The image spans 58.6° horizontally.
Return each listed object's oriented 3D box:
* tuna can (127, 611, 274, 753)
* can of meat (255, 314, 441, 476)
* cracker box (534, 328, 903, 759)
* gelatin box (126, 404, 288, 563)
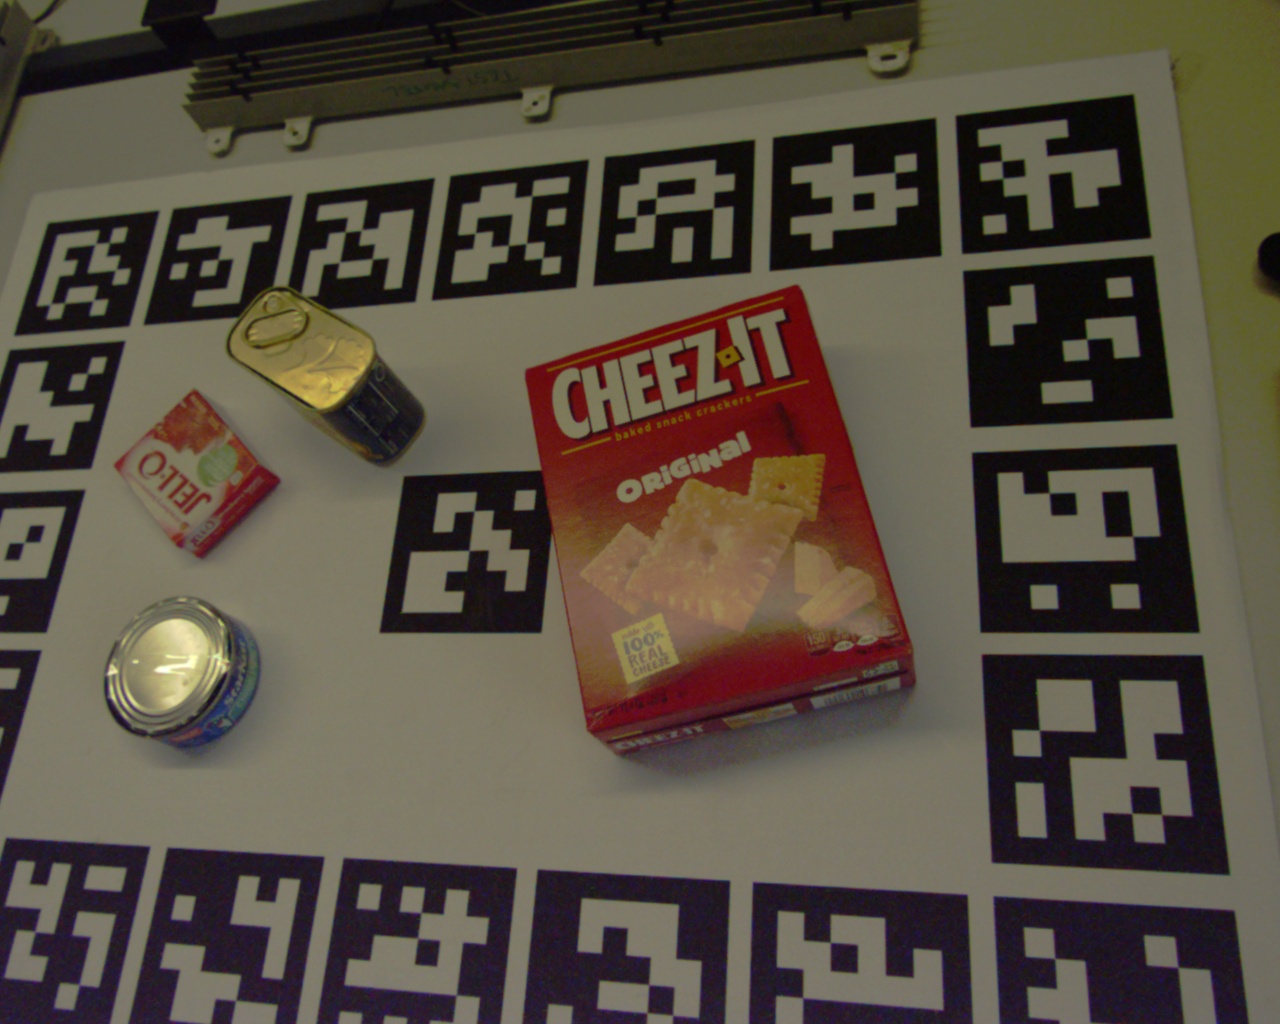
[{"bbox_3d":[-0.276,0.108,0.719,0.086,0.033,0.086,-6,69,14],"label":"tuna can"},{"bbox_3d":[-0.191,-0.075,0.760,0.103,0.083,0.057,28,76,25],"label":"can of meat"},{"bbox_3d":[0.039,0.015,0.660,0.165,0.071,0.215,-17,62,6],"label":"cracker box"},{"bbox_3d":[-0.299,-0.021,0.788,0.073,0.030,0.090,-45,66,-10],"label":"gelatin box"}]
